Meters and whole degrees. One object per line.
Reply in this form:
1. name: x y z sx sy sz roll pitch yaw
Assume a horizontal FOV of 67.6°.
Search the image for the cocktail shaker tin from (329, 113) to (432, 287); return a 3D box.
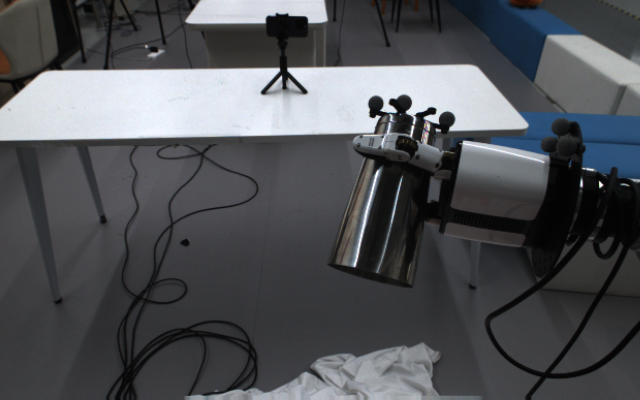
1. cocktail shaker tin: 0.077 -0.004 0.515 0.093 0.093 0.170 13 76 15
